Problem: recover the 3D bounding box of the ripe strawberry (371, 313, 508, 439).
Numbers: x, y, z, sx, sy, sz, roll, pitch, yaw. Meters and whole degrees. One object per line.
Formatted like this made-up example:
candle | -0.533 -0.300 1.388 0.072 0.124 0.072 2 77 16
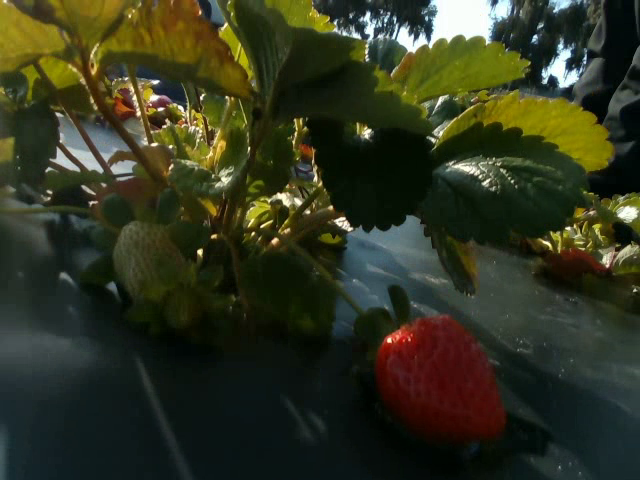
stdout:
ripe strawberry | 0.031 0.032 0.146 0.030 0.033 0.045 -32 24 -8
